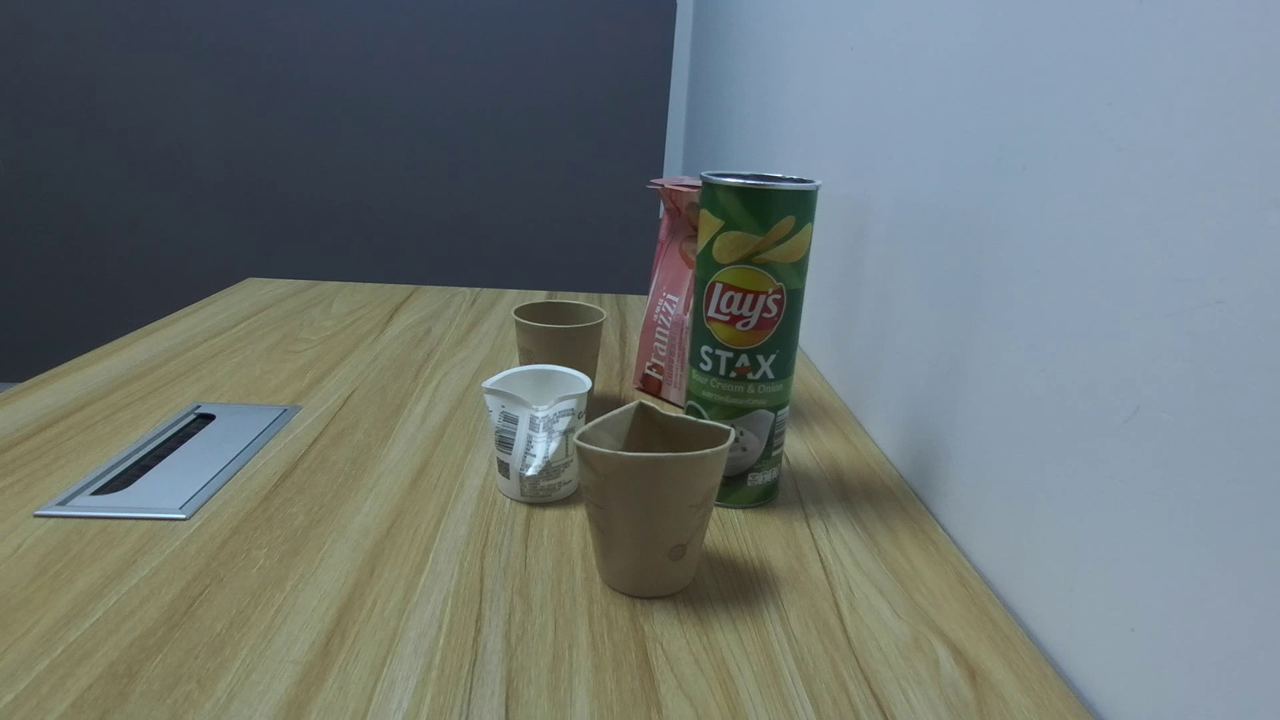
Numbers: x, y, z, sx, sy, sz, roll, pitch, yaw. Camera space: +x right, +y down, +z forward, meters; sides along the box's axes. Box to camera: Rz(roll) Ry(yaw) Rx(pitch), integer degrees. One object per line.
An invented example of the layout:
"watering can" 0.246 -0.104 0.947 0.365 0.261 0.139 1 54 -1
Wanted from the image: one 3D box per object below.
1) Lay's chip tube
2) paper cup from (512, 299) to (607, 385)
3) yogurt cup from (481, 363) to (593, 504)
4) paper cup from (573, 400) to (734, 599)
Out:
"Lay's chip tube" 0.065 -0.012 0.441 0.071 0.202 0.071 3 20 -1
"paper cup" -0.066 0.002 0.563 0.075 0.082 0.075 4 18 -1
"yogurt cup" -0.064 0.046 0.454 0.067 0.070 0.067 1 19 0
"paper cup" 0.005 0.073 0.364 0.071 0.084 0.066 15 23 30
